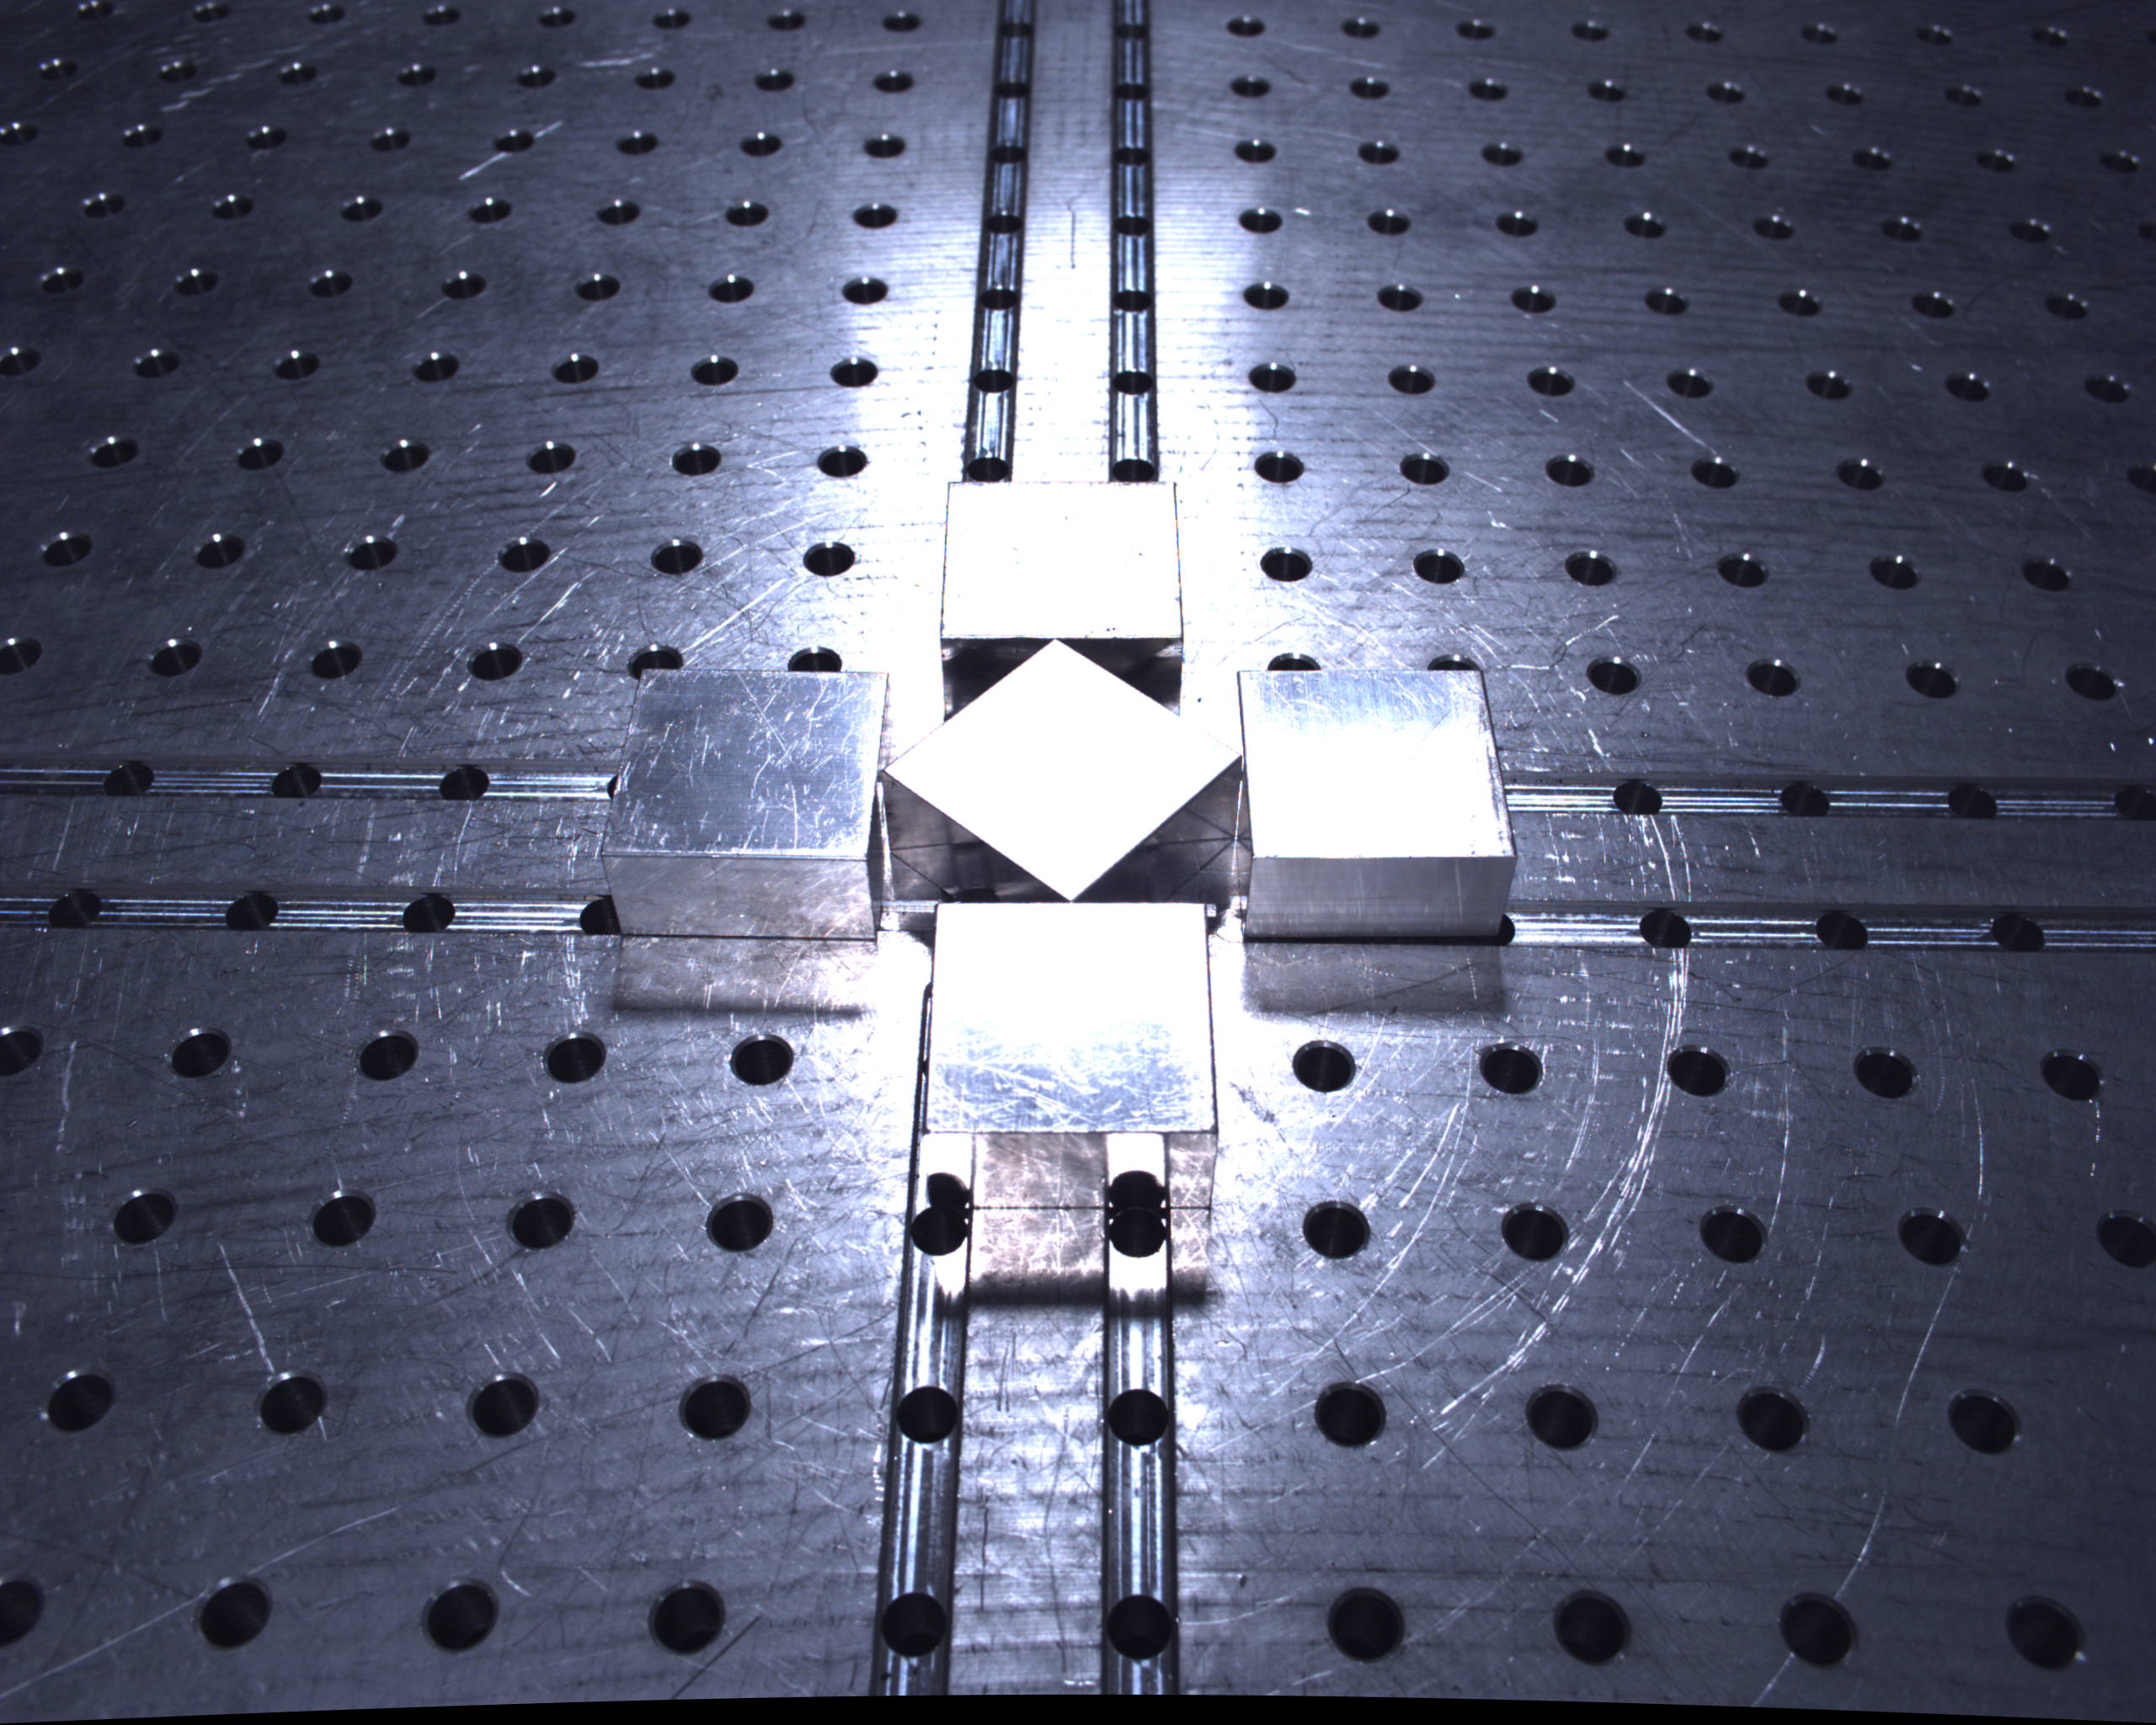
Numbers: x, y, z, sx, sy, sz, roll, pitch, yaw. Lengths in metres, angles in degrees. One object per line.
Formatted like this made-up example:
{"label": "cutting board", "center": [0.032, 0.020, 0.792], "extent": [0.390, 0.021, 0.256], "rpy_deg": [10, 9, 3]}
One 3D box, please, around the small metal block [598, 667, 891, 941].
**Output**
{"label": "small metal block", "center": [-0.064, -0.012, 0.417], "extent": [0.050, 0.025, 0.050], "rpy_deg": [1, 50, 0]}

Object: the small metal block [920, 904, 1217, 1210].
{"label": "small metal block", "center": [-0.002, 0.035, 0.378], "extent": [0.050, 0.025, 0.050], "rpy_deg": [0, 50, 0]}

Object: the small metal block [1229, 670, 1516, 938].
{"label": "small metal block", "center": [0.057, -0.012, 0.418], "extent": [0.050, 0.025, 0.050], "rpy_deg": [0, 50, -1]}

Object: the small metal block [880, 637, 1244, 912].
{"label": "small metal block", "center": [-0.003, -0.012, 0.417], "extent": [0.050, 0.025, 0.050], "rpy_deg": [35, 58, 25]}

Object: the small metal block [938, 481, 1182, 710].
{"label": "small metal block", "center": [-0.004, -0.057, 0.456], "extent": [0.050, 0.025, 0.050], "rpy_deg": [0, 50, -1]}
